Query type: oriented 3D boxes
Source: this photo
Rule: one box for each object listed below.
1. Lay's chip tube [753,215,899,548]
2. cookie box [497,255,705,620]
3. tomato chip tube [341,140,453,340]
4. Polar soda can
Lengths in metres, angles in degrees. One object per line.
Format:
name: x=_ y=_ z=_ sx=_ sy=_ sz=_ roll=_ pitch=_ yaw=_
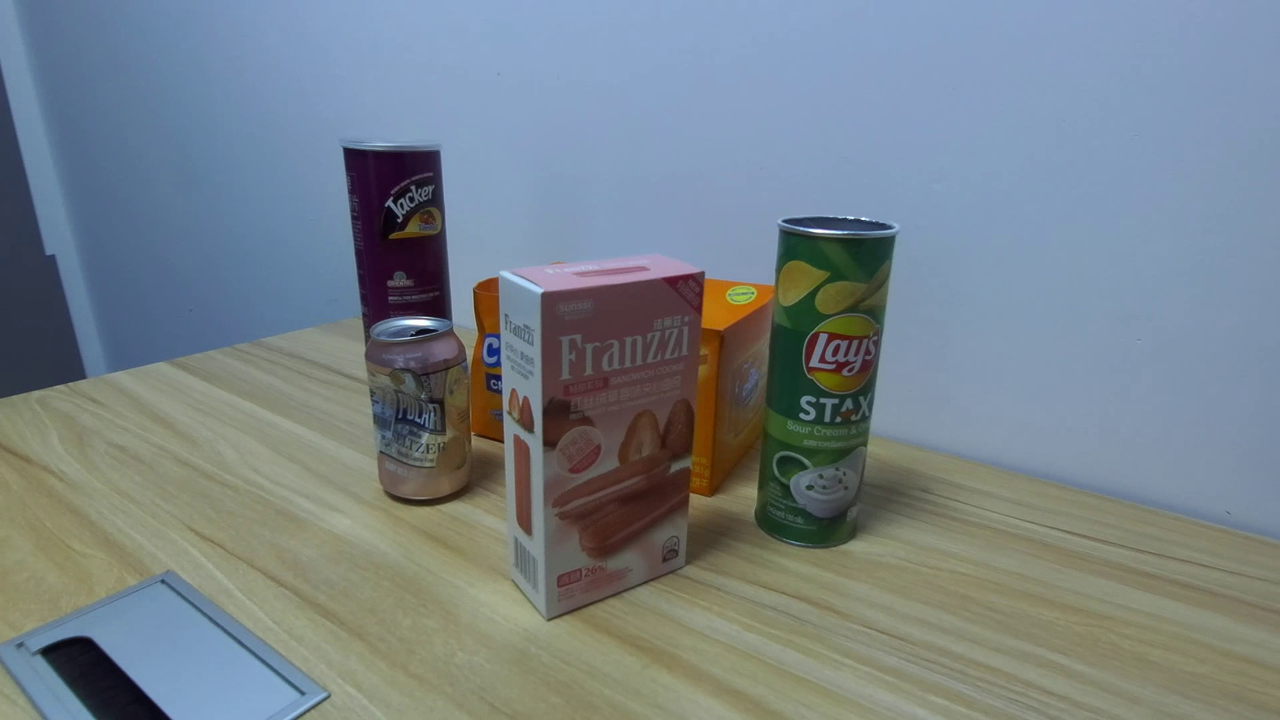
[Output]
Lay's chip tube: x=0.115 y=0.014 z=0.446 sx=0.071 sy=0.202 sz=0.071 roll=1 pitch=19 yaw=0
cookie box: x=-0.020 y=0.041 z=0.388 sx=0.096 sy=0.184 sz=0.048 roll=-11 pitch=24 yaw=-32
tomato chip tube: x=-0.201 y=-0.062 z=0.608 sx=0.078 sy=0.234 sz=0.078 roll=-1 pitch=14 yaw=0
Polar soda can: x=-0.154 y=0.035 z=0.498 sx=0.067 sy=0.122 sz=0.074 roll=-7 pitch=18 yaw=-21
